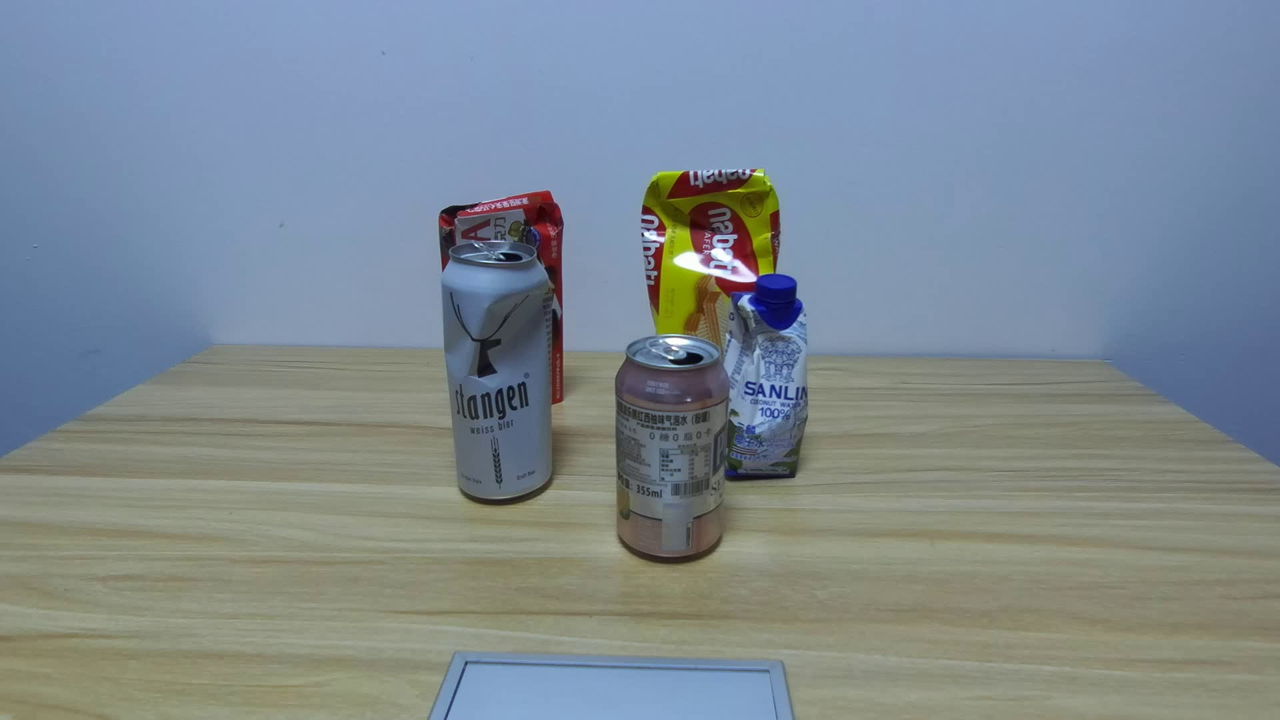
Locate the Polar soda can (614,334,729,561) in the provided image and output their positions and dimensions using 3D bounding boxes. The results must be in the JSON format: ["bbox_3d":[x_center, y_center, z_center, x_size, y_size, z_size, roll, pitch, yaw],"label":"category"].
[{"bbox_3d":[0.019,0.052,0.422,0.067,0.125,0.067,0,19,0],"label":"Polar soda can"}]

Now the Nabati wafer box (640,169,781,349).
[{"bbox_3d":[0.058,-0.052,0.589,0.113,0.205,0.042,0,19,3],"label":"Nabati wafer box"}]

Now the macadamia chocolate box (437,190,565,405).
[{"bbox_3d":[-0.109,-0.043,0.589,0.103,0.187,0.027,-14,30,-32],"label":"macadamia chocolate box"}]

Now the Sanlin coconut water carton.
[{"bbox_3d":[0.091,0.010,0.514,0.057,0.144,0.068,3,10,-13],"label":"Sanlin coconut water carton"}]

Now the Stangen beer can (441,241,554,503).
[{"bbox_3d":[-0.093,0.008,0.473,0.070,0.173,0.069,0,20,-1],"label":"Stangen beer can"}]
